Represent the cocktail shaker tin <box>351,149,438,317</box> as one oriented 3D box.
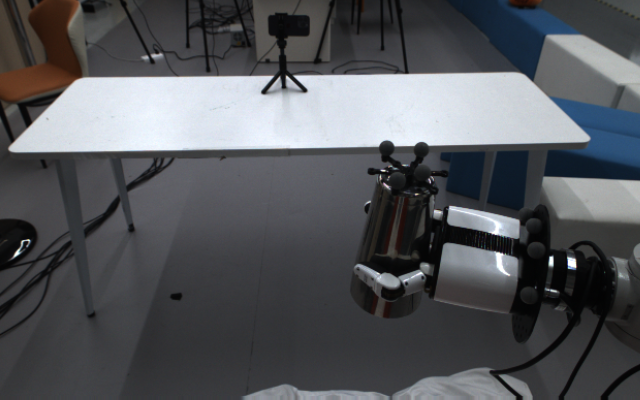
[{"bbox_3d":[0.093,0.046,0.577,0.093,0.170,0.093,3,34,-2],"label":"cocktail shaker tin"}]
